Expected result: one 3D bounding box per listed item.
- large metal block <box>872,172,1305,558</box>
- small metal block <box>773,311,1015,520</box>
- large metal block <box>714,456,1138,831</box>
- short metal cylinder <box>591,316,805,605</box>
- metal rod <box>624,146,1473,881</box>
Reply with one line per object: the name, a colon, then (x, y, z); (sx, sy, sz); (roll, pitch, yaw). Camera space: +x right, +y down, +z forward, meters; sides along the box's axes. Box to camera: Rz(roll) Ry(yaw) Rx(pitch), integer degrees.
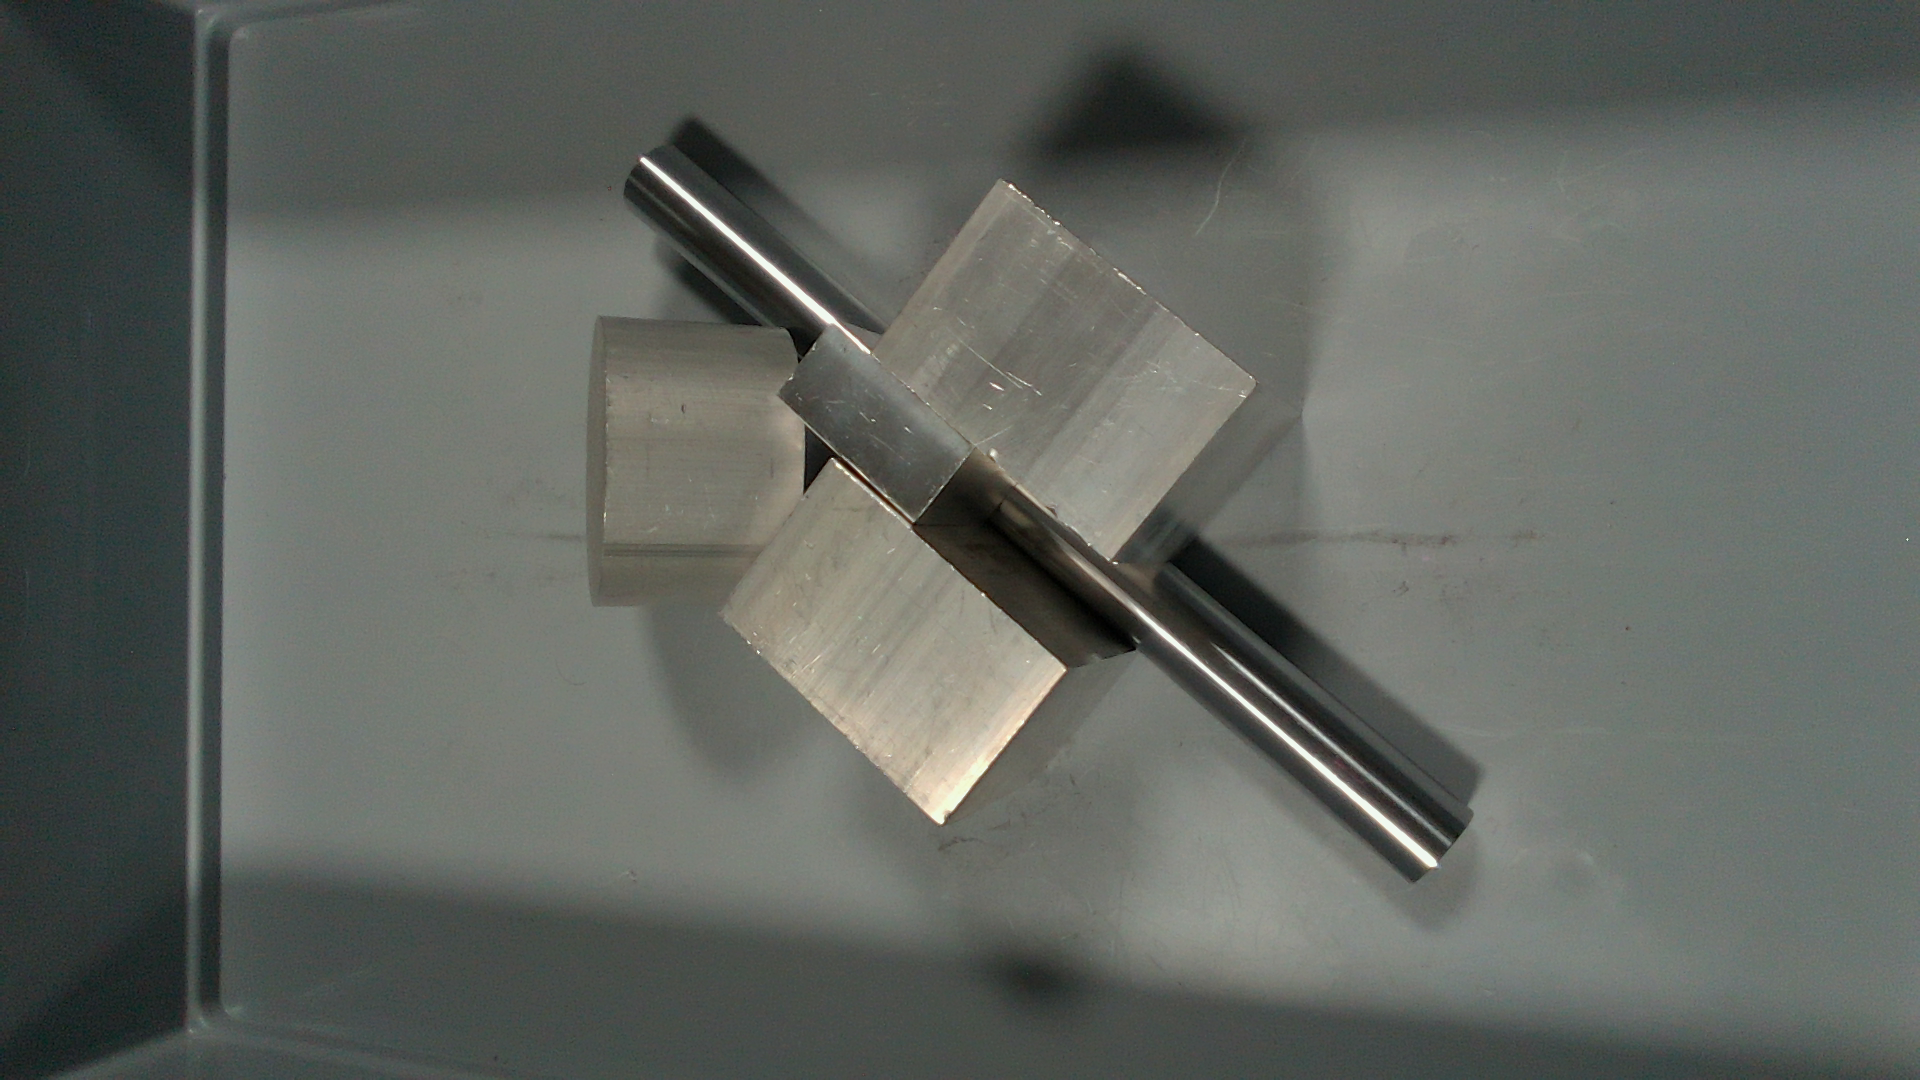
large metal block: (0.037, -0.041, 0.353); (0.080, 0.080, 0.050); (42, 103, 15)
small metal block: (-0.013, -0.031, 0.362); (0.050, 0.050, 0.025); (43, 104, 15)
large metal block: (-0.004, 0.024, 0.368); (0.080, 0.080, 0.050); (41, 103, 15)
short metal cylinder: (-0.077, -0.021, 0.387); (0.050, 0.080, 0.080); (0, 90, -19)
metal rod: (0.014, -0.017, 0.391); (0.300, 0.025, 0.025); (41, 103, 15)
